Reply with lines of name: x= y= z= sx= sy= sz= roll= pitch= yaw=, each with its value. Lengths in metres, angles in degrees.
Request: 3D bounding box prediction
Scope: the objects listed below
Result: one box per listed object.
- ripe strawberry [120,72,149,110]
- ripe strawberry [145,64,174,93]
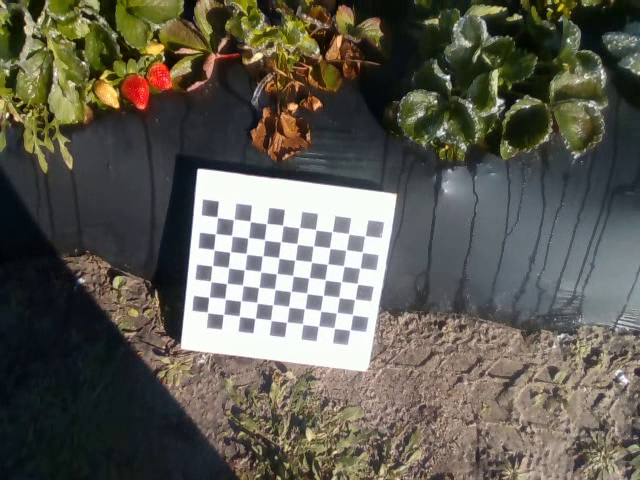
ripe strawberry: x=-0.234 y=-0.185 z=0.730 sx=0.036 sy=0.052 sz=0.040 roll=-30 pitch=-28 yaw=6
ripe strawberry: x=-0.207 y=-0.213 z=0.742 sx=0.041 sy=0.036 sz=0.030 roll=35 pitch=10 yaw=-1
